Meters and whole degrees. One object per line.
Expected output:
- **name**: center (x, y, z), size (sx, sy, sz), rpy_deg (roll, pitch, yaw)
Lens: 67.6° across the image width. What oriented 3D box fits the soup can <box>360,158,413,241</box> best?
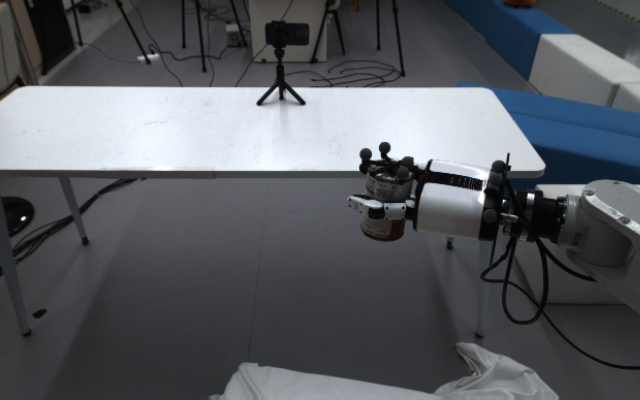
- **soup can**: center (0.098, 0.001, 0.710), size (0.067, 0.101, 0.067), rpy_deg (4, 30, -2)
